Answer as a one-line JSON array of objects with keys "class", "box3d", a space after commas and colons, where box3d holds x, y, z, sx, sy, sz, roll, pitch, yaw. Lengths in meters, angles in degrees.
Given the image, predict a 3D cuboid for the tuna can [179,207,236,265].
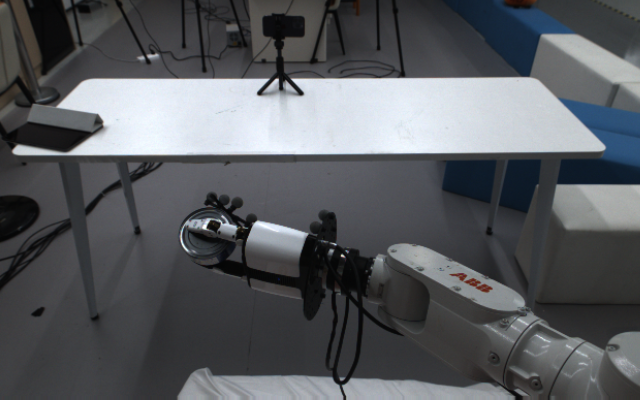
[{"class": "tuna can", "box3d": [-0.171, 0.057, 0.745, 0.085, 0.034, 0.085, -1, 59, 2]}]
